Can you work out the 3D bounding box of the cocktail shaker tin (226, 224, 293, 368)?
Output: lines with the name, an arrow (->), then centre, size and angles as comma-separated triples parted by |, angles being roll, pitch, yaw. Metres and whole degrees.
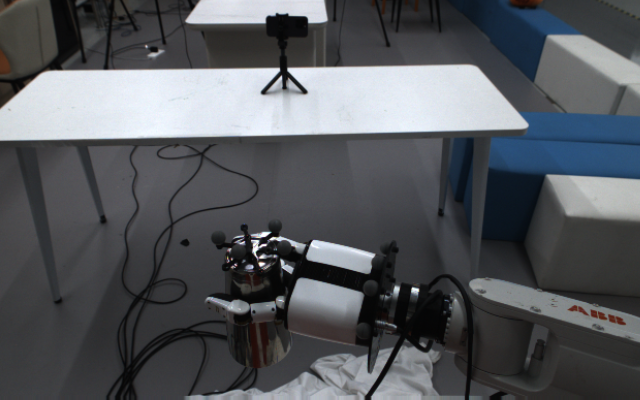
cocktail shaker tin -> -0.079, 0.128, 0.635 | 0.093, 0.170, 0.093 | 0, 39, 0
